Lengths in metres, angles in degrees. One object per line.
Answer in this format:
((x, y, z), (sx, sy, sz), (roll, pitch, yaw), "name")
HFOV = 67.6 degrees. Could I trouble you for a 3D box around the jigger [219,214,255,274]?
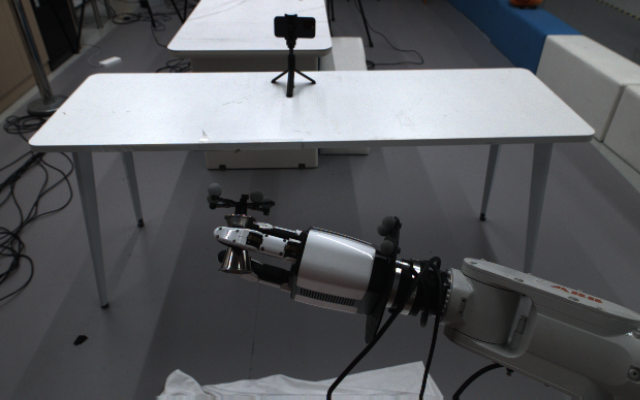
((-0.102, 0.055, 0.599), (0.043, 0.043, 0.071), (3, 76, 1), "jigger")
